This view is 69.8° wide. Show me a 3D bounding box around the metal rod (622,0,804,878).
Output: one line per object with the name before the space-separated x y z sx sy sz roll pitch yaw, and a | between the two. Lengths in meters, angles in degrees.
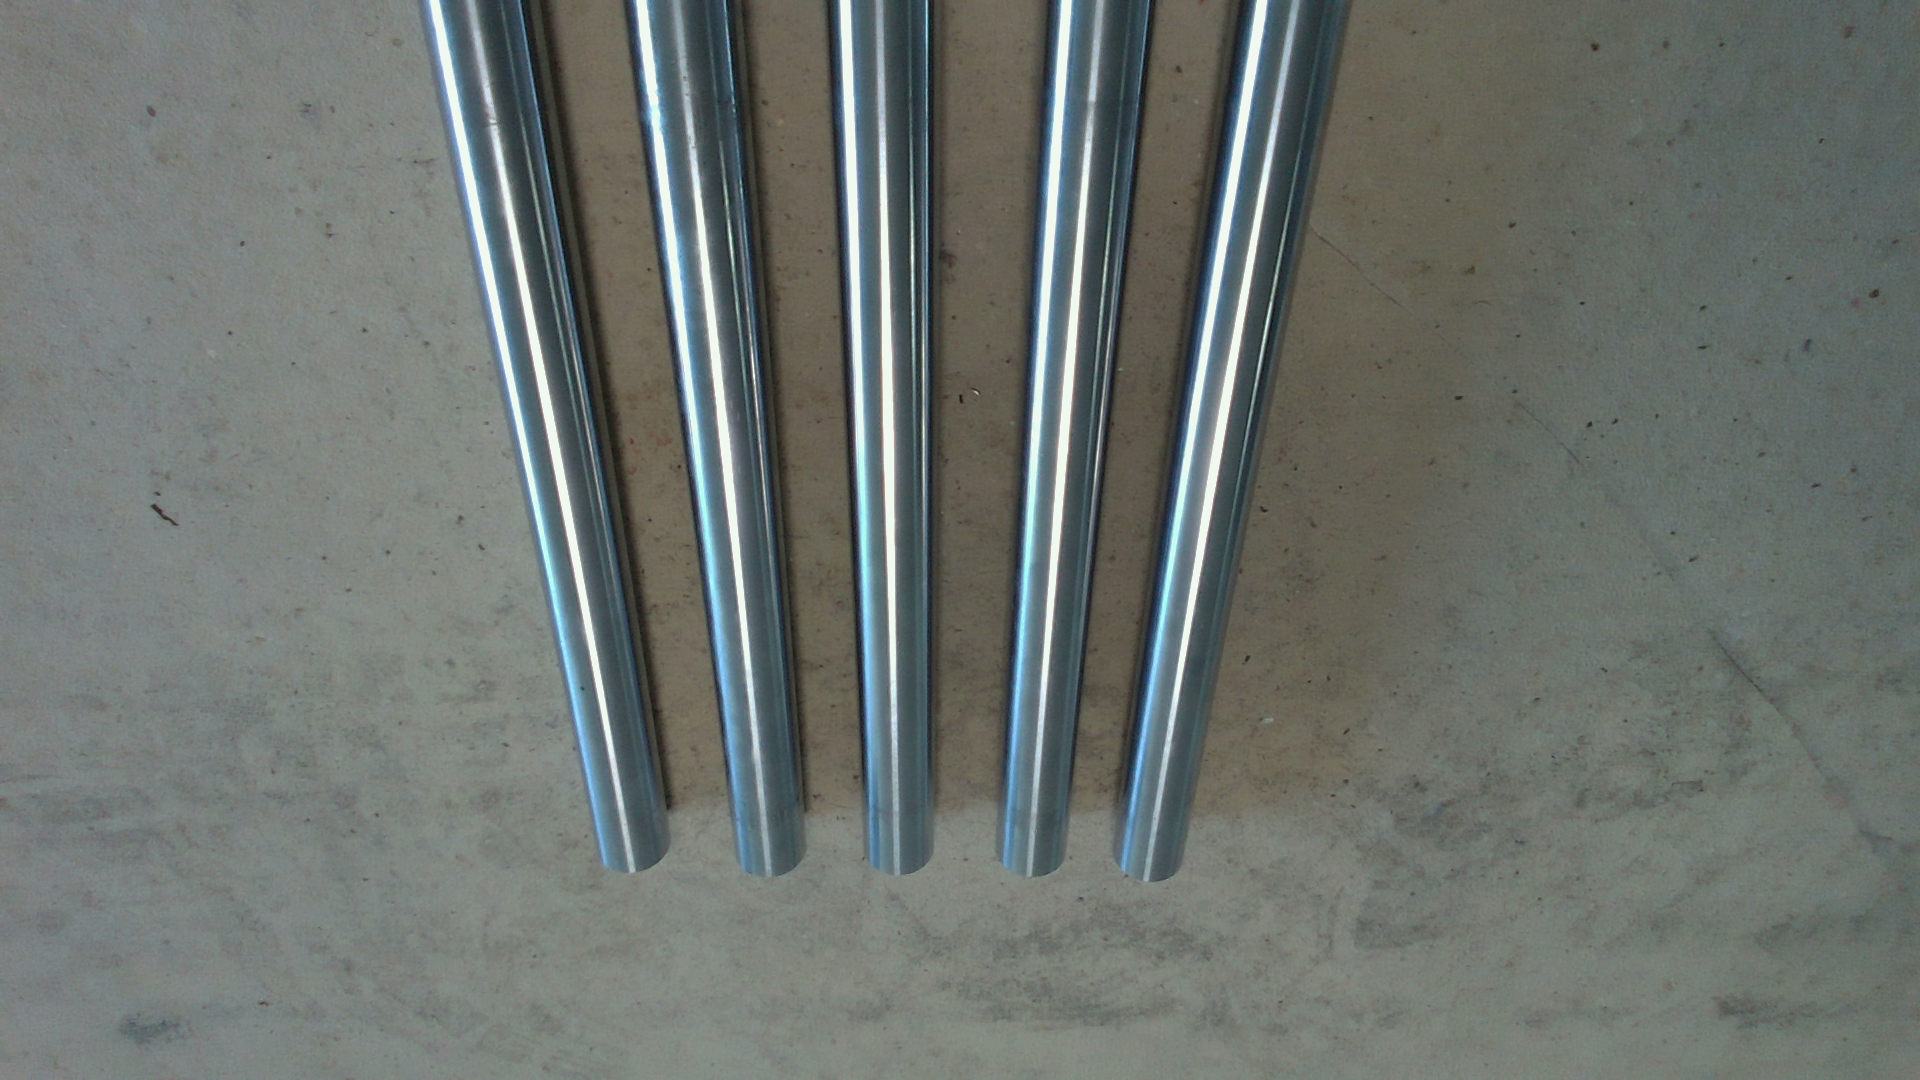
metal rod | -0.063 -0.007 0.384 0.025 0.025 0.300 1 130 -1

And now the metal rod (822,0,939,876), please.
metal rod | -0.019 -0.008 0.384 0.025 0.025 0.300 1 130 -1

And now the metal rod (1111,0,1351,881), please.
metal rod | 0.068 -0.005 0.386 0.025 0.025 0.300 1 130 -1

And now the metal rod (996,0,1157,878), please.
metal rod | 0.027 -0.007 0.385 0.025 0.025 0.300 1 130 -1

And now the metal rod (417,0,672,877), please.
metal rod | -0.107 -0.008 0.382 0.025 0.025 0.300 2 130 -1
